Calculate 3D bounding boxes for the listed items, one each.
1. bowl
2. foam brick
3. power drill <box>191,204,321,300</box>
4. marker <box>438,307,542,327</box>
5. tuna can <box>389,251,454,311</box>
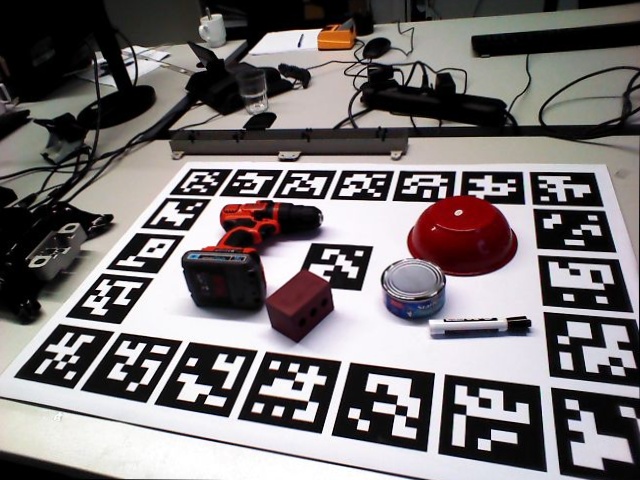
[{"bbox_3d":[0.214,-0.024,0.774,0.162,0.055,0.161,-9,30,5],"label":"bowl"},{"bbox_3d":[-0.018,0.087,0.687,0.051,0.053,0.077,21,49,33],"label":"foam brick"},{"bbox_3d":[-0.103,0.010,0.800,0.185,0.057,0.185,4,37,13],"label":"power drill"},{"bbox_3d":[0.207,0.094,0.633,0.121,0.020,0.019,-4,39,8],"label":"marker"},{"bbox_3d":[0.136,0.054,0.692,0.086,0.034,0.085,-5,38,4],"label":"tuna can"}]
